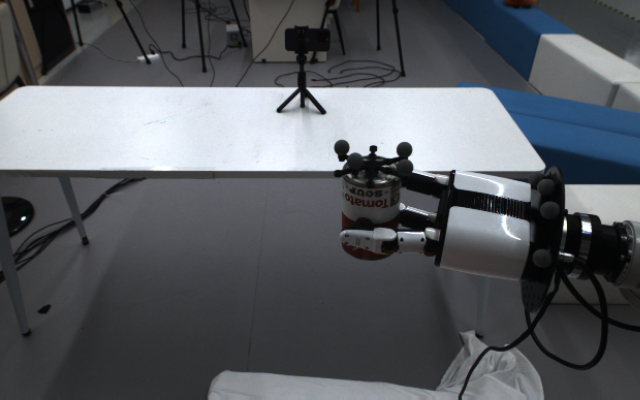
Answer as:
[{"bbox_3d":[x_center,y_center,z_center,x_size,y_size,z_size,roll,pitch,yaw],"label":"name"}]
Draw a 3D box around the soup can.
[{"bbox_3d":[0.060,0.007,0.557,0.067,0.101,0.067,-2,34,1],"label":"soup can"}]
